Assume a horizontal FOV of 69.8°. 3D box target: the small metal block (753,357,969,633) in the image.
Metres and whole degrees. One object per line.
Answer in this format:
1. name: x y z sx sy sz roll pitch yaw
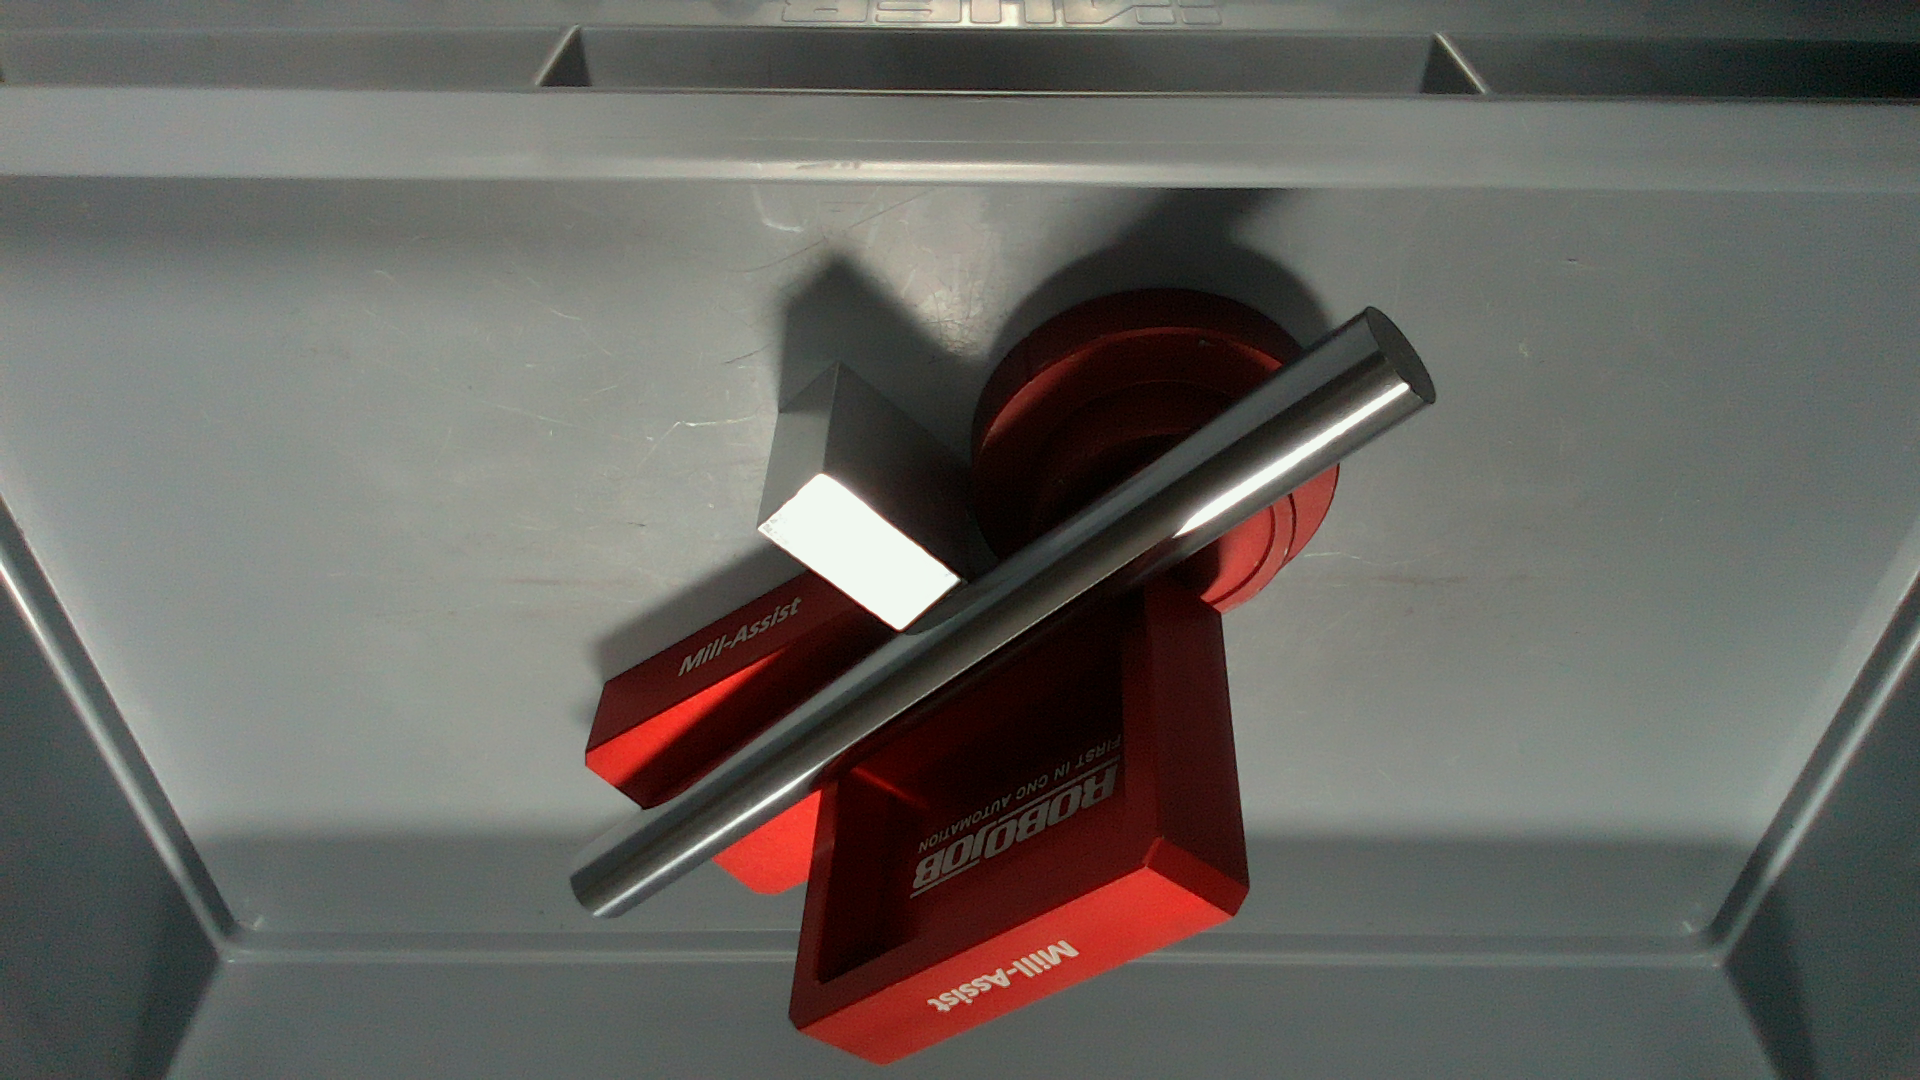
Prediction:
1. small metal block: -0.024 -0.012 0.363 0.025 0.050 0.050 -37 121 27

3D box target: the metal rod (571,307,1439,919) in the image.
1. metal rod: -0.010 0.036 0.368 0.025 0.025 0.299 37 125 -27

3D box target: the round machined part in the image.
1. round machined part: 0.052 -0.014 0.366 0.098 0.042 0.098 0 130 0

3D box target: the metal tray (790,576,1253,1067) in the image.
1. metal tray: 0.012 0.072 0.358 0.030 0.090 0.130 34 129 -28

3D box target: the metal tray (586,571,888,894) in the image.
1. metal tray: -0.040 0.057 0.434 0.130 0.030 0.090 -28 125 22
